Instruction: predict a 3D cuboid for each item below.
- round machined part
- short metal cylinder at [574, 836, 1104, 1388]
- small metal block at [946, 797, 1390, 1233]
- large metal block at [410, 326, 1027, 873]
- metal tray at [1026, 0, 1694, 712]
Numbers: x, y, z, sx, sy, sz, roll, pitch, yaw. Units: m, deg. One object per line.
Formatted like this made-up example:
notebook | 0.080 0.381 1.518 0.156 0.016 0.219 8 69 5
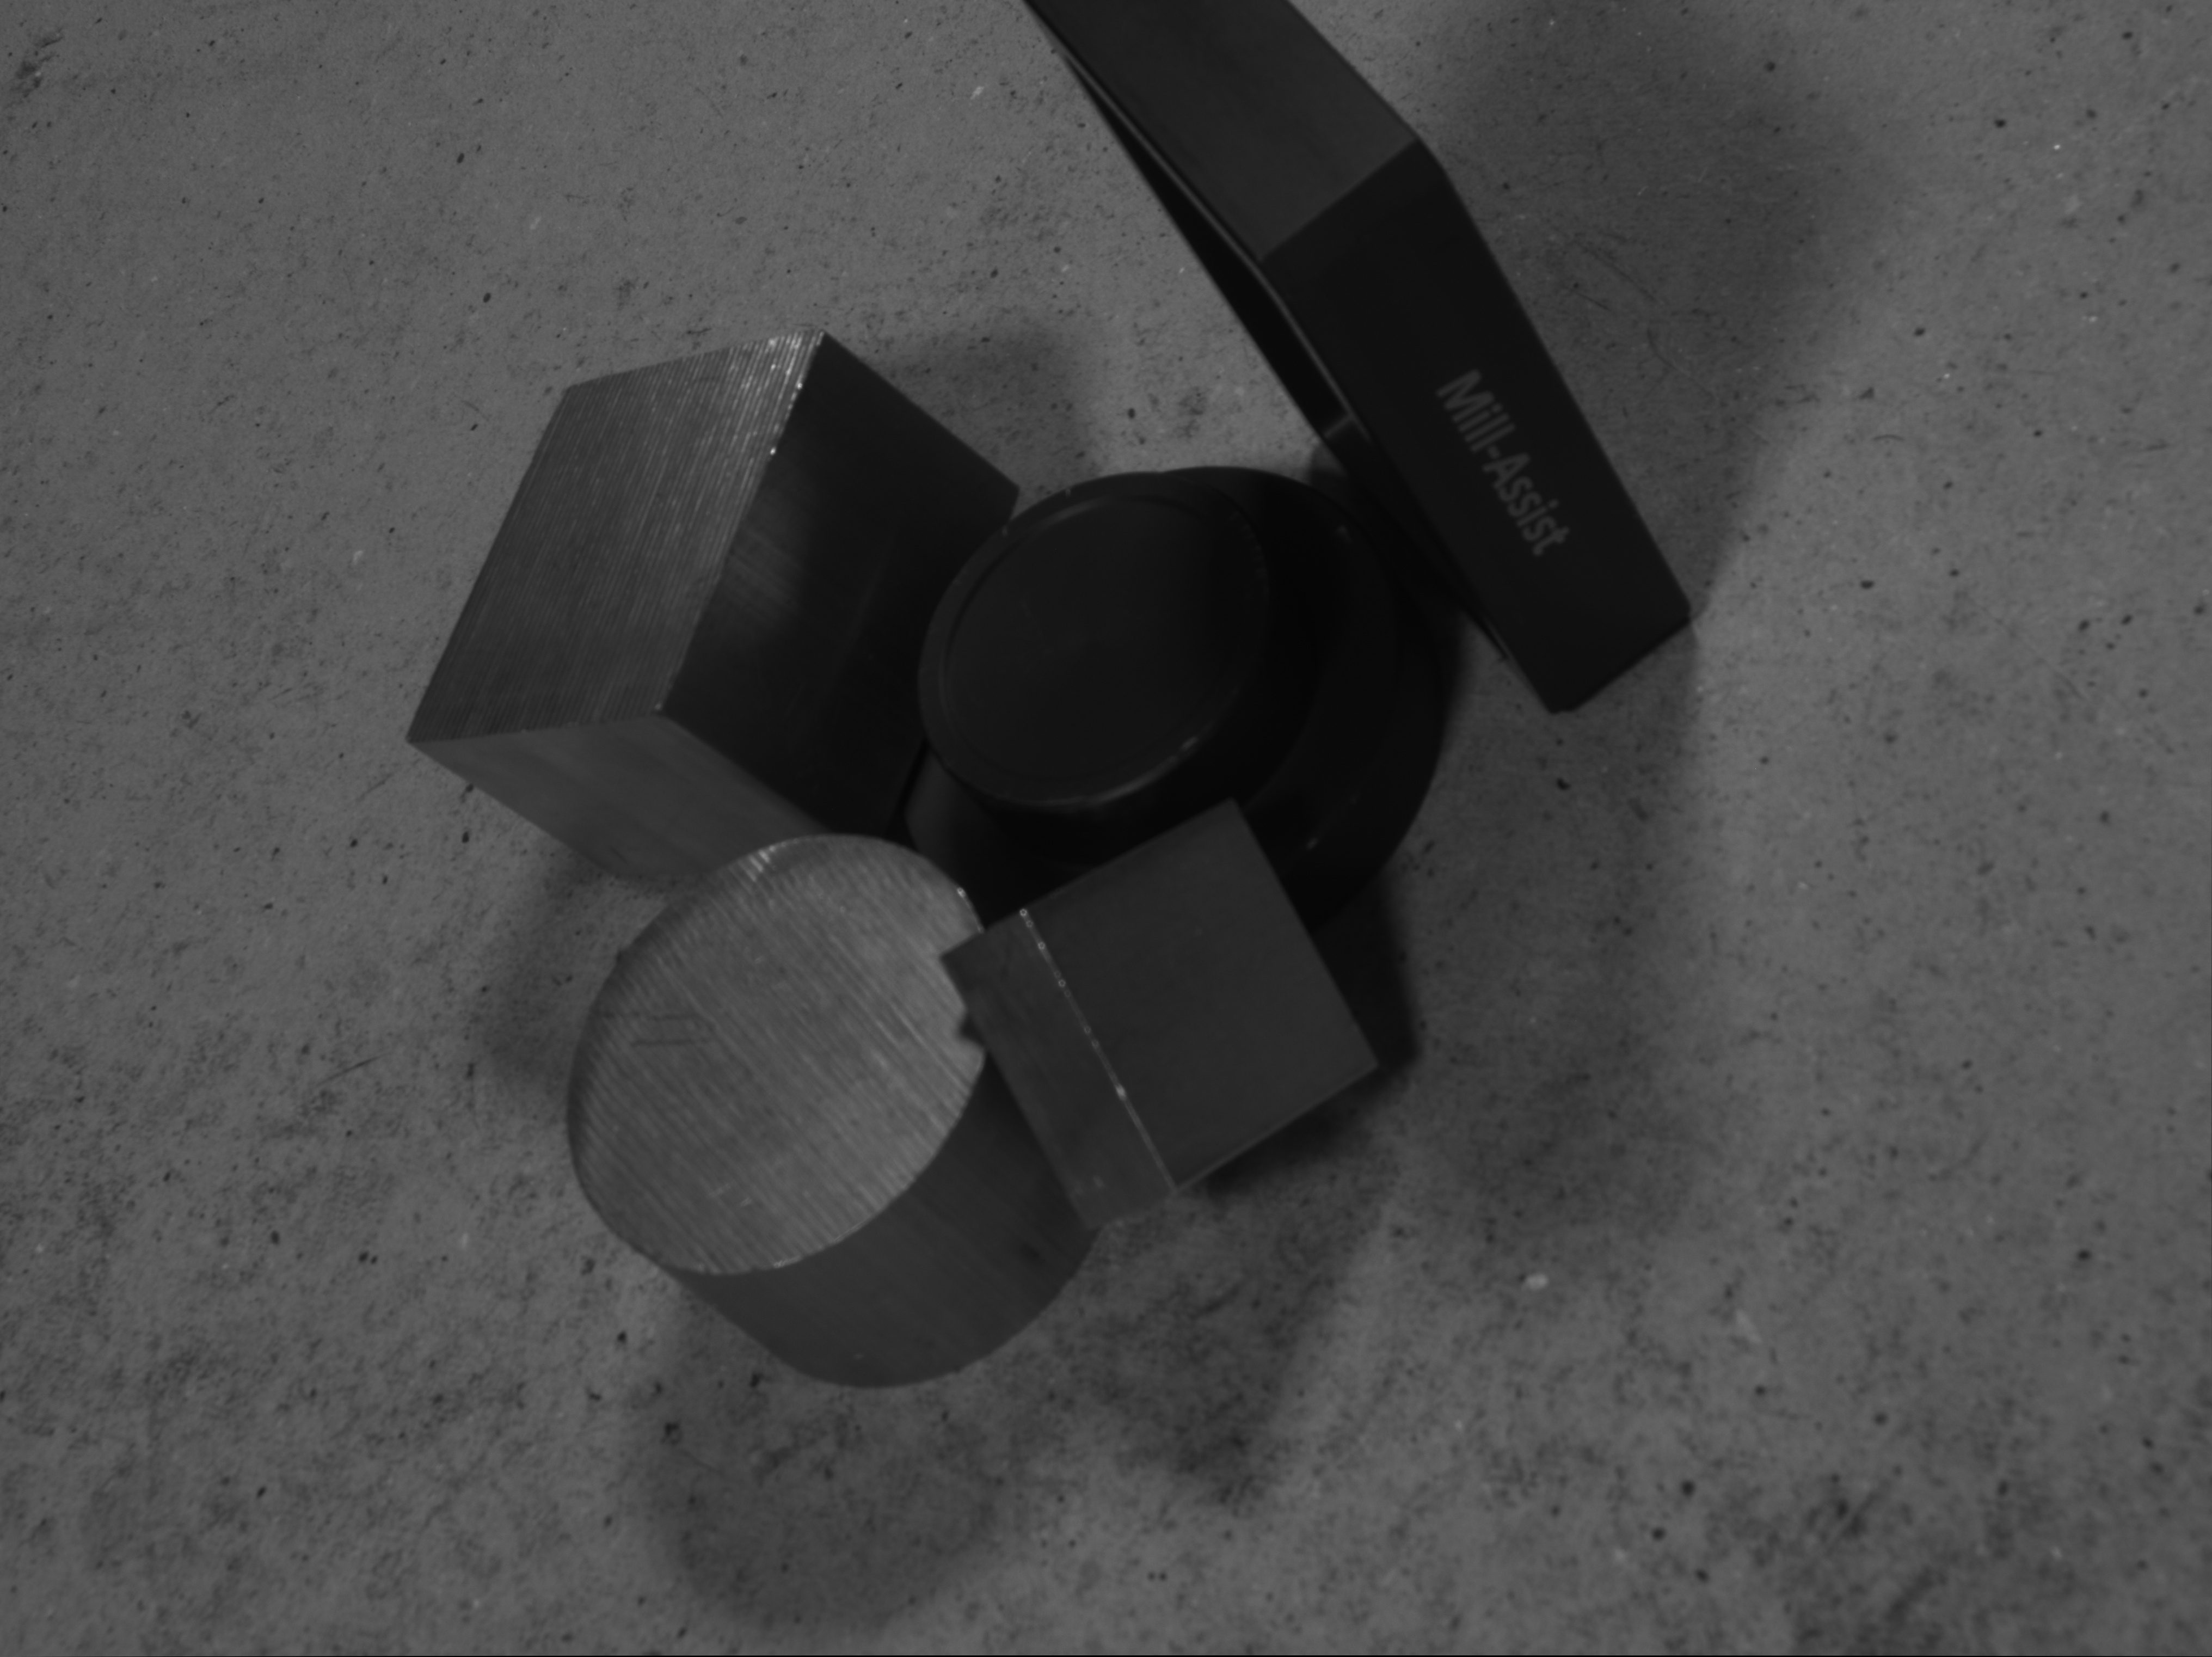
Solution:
round machined part | 0.008 -0.023 0.644 0.098 0.042 0.098 -13 56 21
short metal cylinder | -0.043 0.048 0.622 0.080 0.050 0.080 -13 56 21
small metal block | 0.010 0.030 0.590 0.025 0.050 0.050 -30 88 50
large metal block | -0.071 -0.040 0.675 0.080 0.050 0.080 -3 59 47
metal tray | 0.044 -0.085 0.604 0.030 0.130 0.090 -38 51 3
